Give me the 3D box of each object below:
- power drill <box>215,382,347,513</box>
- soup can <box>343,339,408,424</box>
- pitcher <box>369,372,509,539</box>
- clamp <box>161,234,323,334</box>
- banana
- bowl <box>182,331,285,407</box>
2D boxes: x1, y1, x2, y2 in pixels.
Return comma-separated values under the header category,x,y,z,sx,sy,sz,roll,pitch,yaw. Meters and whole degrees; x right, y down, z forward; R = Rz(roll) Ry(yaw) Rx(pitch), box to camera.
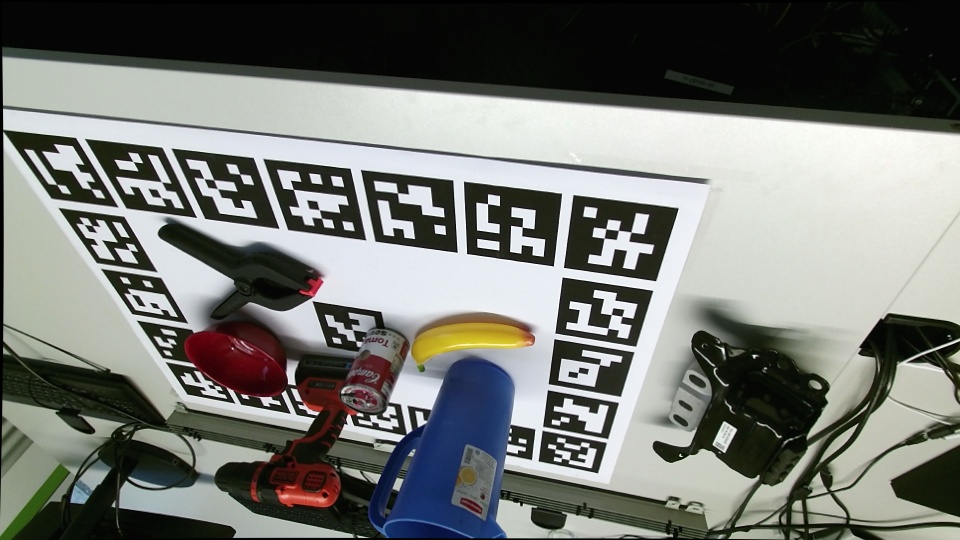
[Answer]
category,x,y,z,sx,sy,sz,roll,pitch,yaw
power drill,-0.273,0.255,0.782,0.185,0.186,0.057,4,131,13
soup can,-0.146,0.156,0.744,0.068,0.101,0.068,8,141,7
pitcher,-0.041,0.264,0.715,0.189,0.241,0.133,-12,129,25
clamp,-0.307,0.031,0.709,0.203,0.036,0.165,5,128,11
banana,-0.018,0.113,0.715,0.198,0.038,0.074,-13,135,27
bowl,-0.364,0.144,0.821,0.162,0.055,0.162,7,131,8
